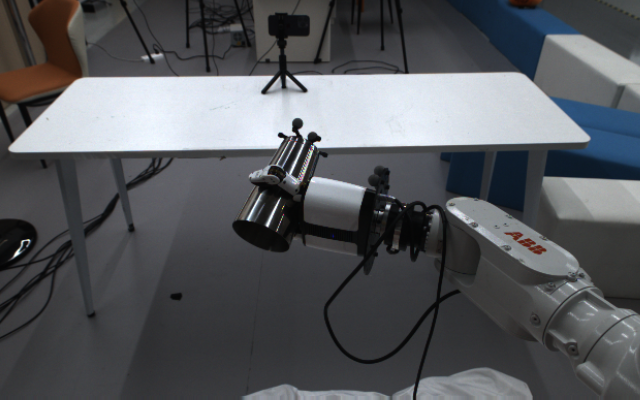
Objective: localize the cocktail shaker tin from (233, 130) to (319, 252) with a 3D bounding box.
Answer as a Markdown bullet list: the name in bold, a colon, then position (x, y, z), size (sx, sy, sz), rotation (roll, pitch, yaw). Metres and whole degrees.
- **cocktail shaker tin**: position (-0.061, -0.014, 0.752), size (0.093, 0.093, 0.170), rotation (14, 61, 17)
